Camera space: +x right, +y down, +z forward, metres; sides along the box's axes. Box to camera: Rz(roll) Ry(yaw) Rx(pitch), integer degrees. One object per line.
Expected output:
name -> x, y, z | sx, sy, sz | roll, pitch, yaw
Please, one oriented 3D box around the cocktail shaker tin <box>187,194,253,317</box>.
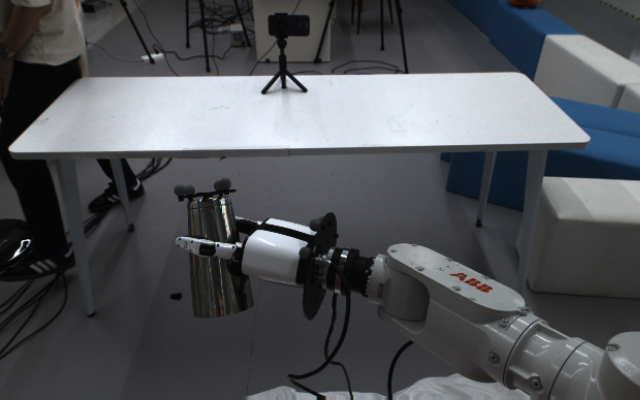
cocktail shaker tin -> -0.158, 0.084, 0.735 | 0.093, 0.170, 0.093 | -8, 1, 0
